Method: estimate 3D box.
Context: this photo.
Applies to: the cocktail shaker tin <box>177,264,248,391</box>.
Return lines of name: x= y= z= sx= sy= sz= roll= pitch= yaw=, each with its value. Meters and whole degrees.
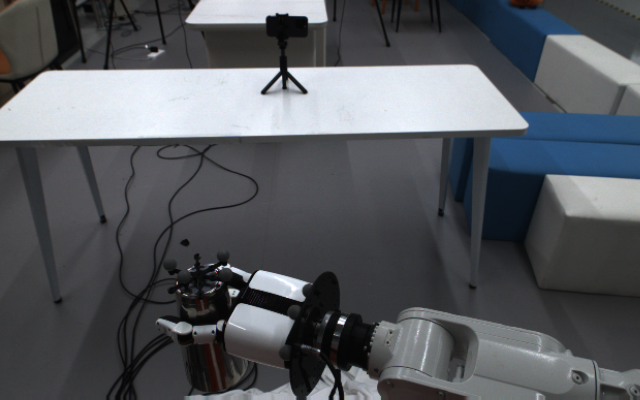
cocktail shaker tin: x=-0.153 y=0.176 z=0.683 sx=0.093 sy=0.170 sz=0.093 roll=-1 pitch=32 yaw=1
